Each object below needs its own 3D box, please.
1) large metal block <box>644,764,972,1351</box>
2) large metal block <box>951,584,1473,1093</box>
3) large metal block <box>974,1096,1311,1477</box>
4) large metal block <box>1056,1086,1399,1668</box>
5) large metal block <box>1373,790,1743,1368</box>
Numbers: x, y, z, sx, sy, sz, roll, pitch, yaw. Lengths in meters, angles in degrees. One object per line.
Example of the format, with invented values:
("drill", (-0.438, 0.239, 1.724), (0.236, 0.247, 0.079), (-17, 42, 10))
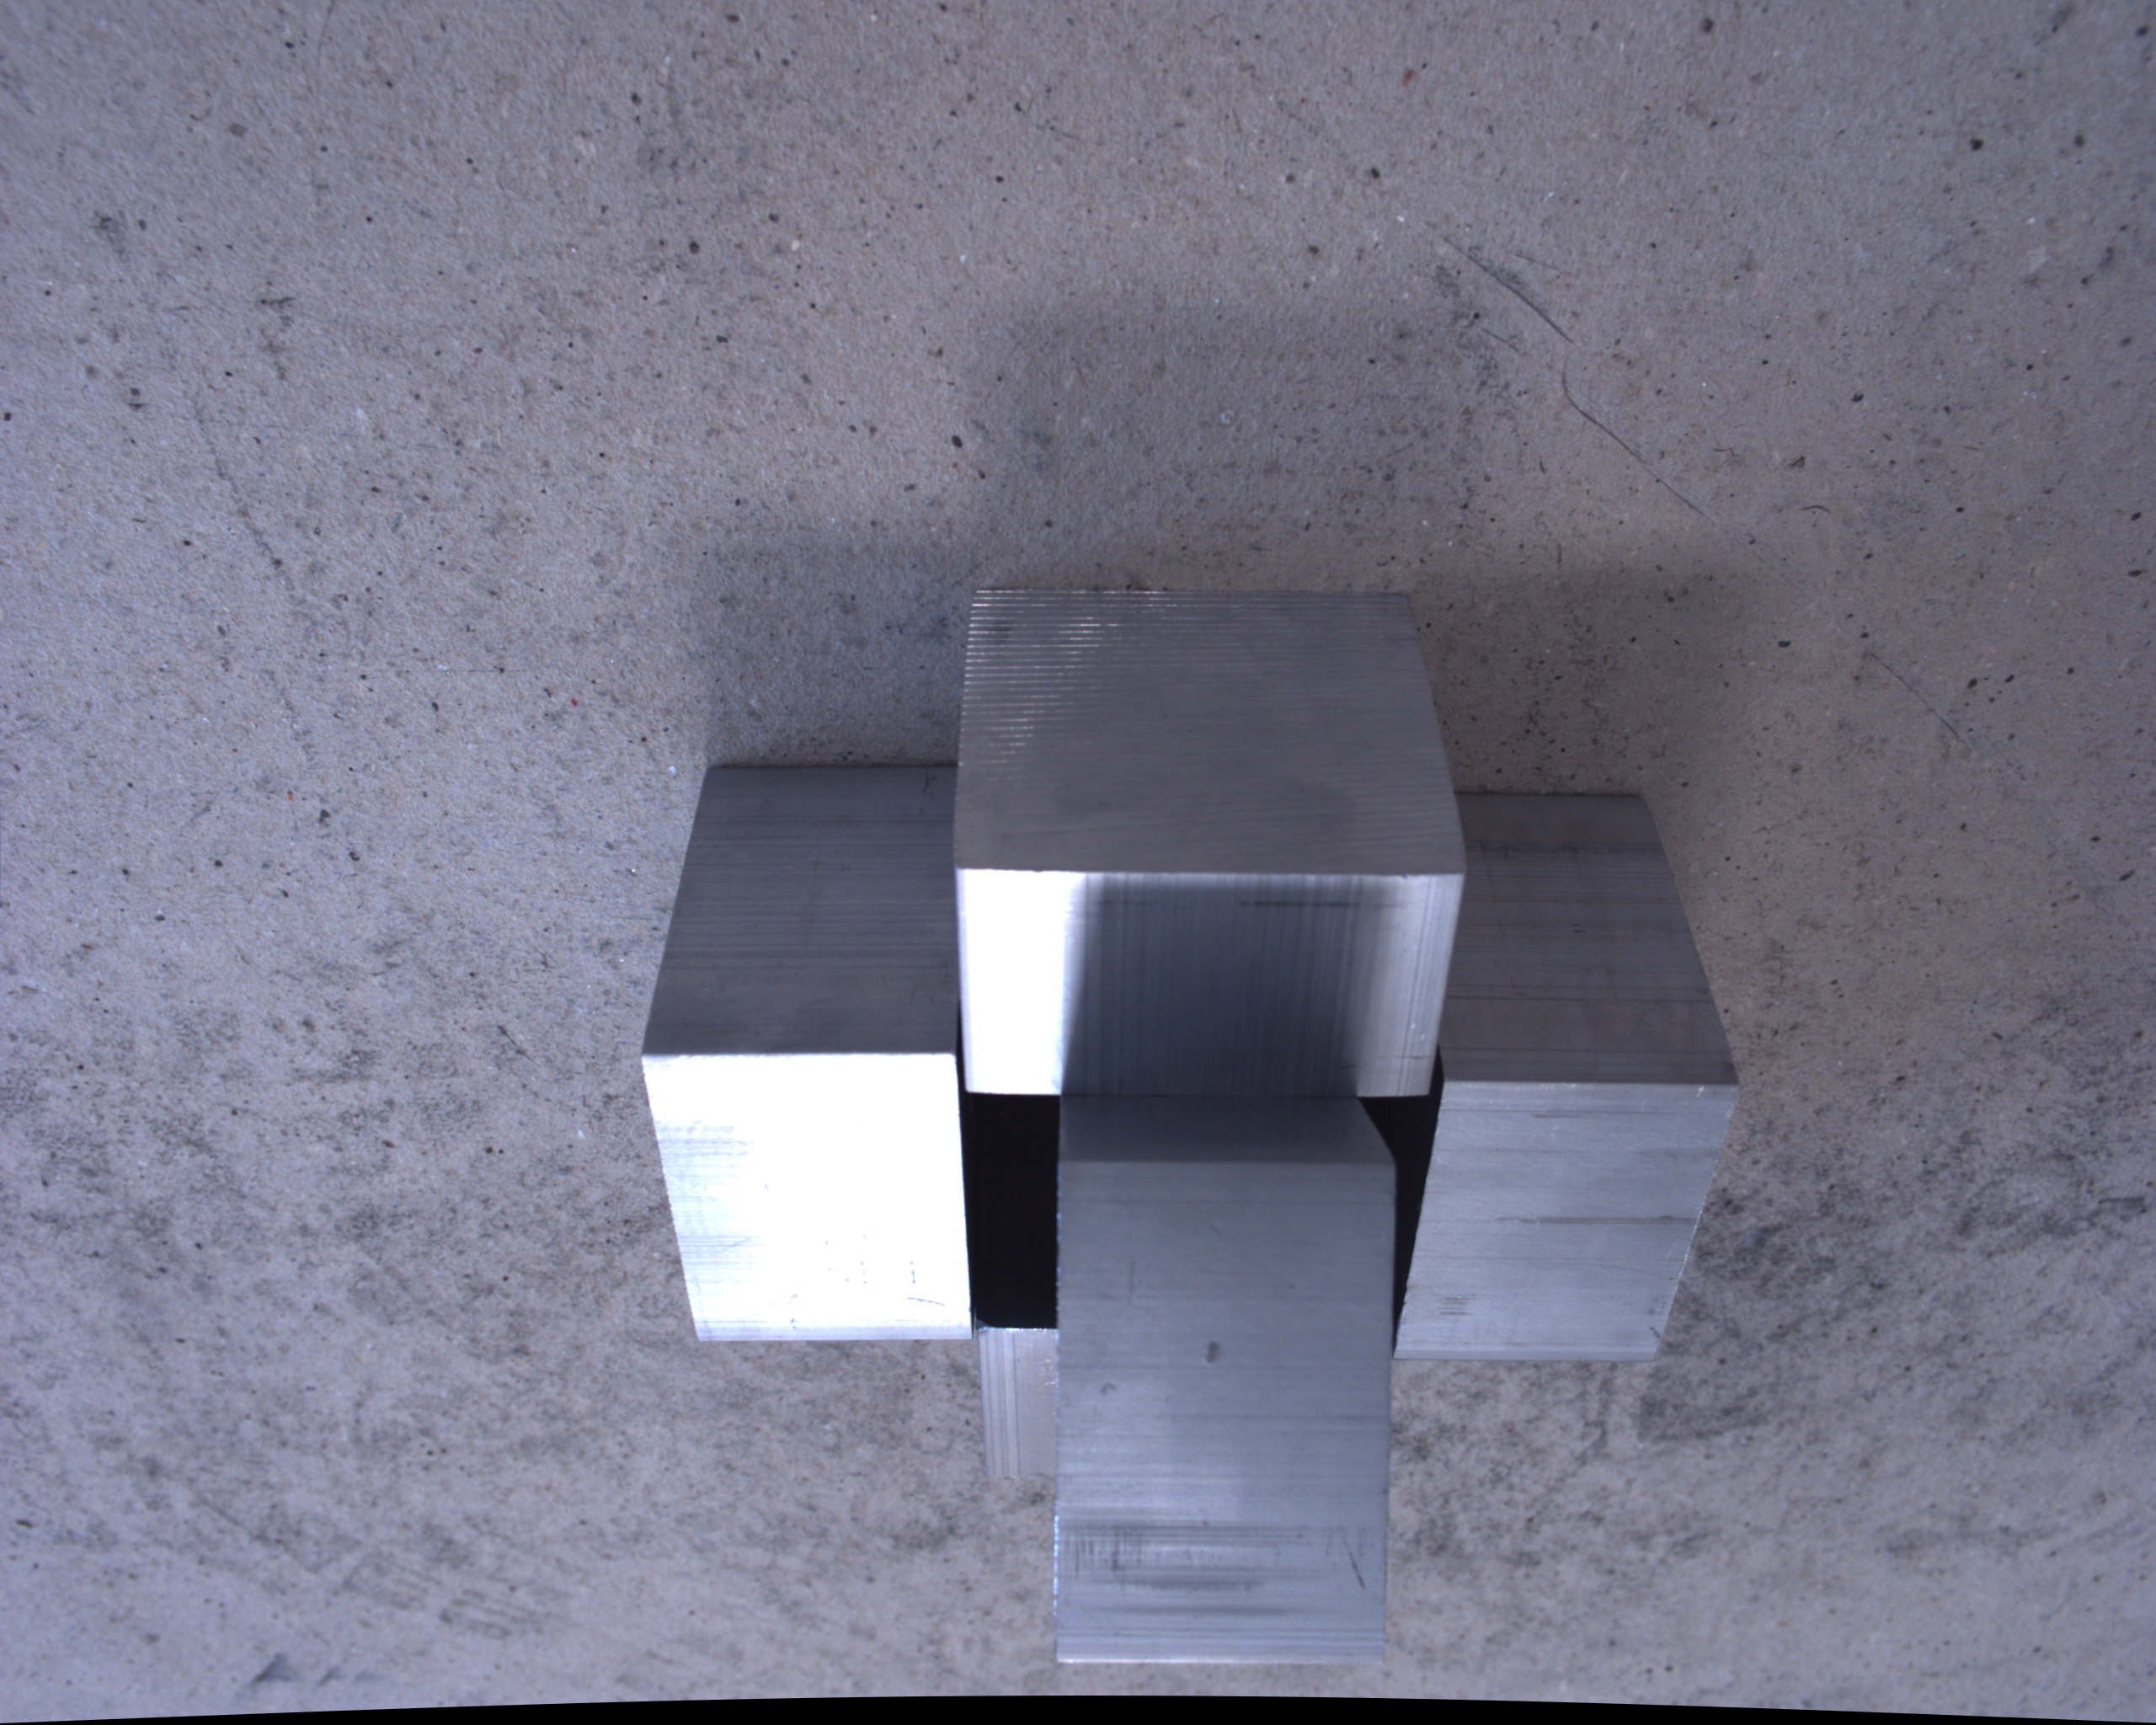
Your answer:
("large metal block", (-0.047, 0.037, 0.402), (0.050, 0.080, 0.079), (0, 130, 0))
("large metal block", (0.020, -0.006, 0.368), (0.081, 0.080, 0.050), (1, 130, -1))
("large metal block", (0.021, 0.081, 0.442), (0.081, 0.080, 0.050), (0, 130, 0))
("large metal block", (0.022, 0.079, 0.354), (0.050, 0.080, 0.079), (1, 96, -1))
("large metal block", (0.086, 0.042, 0.409), (0.050, 0.080, 0.079), (1, 130, -1))
